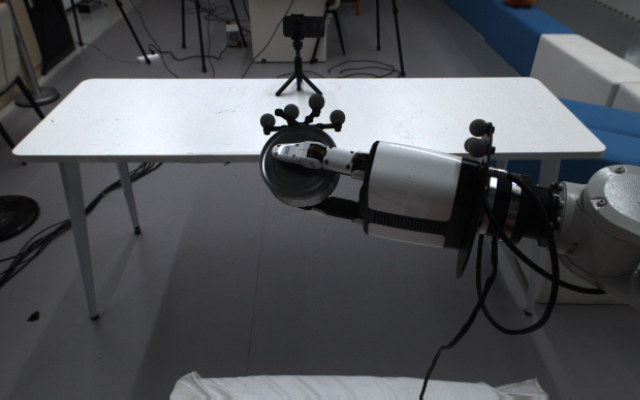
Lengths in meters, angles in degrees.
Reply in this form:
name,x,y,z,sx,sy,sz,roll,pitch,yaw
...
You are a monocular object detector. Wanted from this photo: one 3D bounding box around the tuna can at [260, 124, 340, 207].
name,x,y,z,sx,sy,sz,roll,pitch,yaw
tuna can,-0.019,-0.037,0.529,0.085,0.034,0.085,-2,69,6
